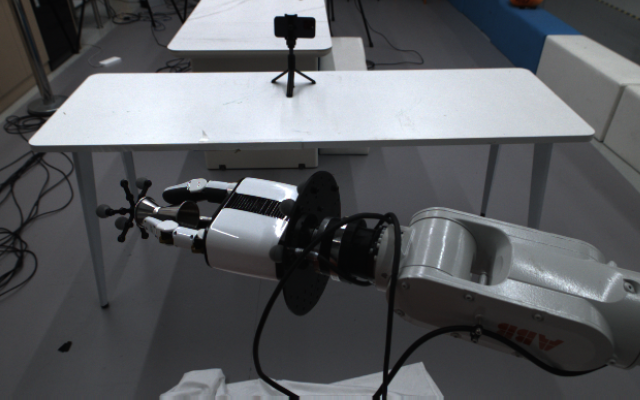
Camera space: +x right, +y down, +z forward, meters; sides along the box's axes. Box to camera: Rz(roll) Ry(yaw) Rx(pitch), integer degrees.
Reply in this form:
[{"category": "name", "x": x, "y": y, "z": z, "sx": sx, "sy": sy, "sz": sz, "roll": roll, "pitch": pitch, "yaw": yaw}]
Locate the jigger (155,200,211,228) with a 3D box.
[{"category": "jigger", "x": -0.182, "y": 0.013, "z": 0.602, "sx": 0.071, "sy": 0.043, "sz": 0.043, "roll": 5, "pitch": 34, "yaw": 23}]
